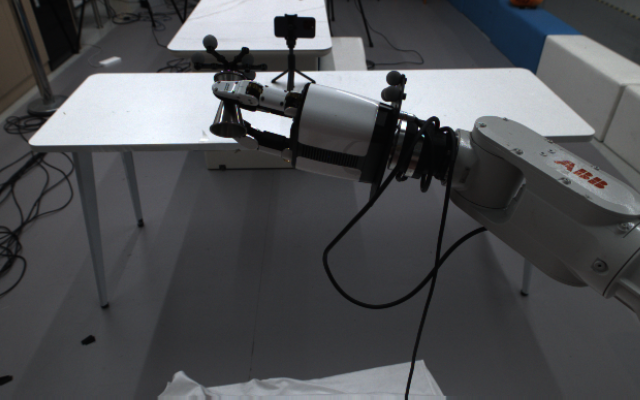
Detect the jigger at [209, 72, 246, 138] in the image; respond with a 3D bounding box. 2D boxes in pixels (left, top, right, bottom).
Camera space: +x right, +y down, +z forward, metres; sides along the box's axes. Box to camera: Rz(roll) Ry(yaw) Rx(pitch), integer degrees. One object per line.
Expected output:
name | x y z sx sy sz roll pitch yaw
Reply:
jigger | -0.107 -0.115 0.578 0.043 0.043 0.071 0 75 -3
